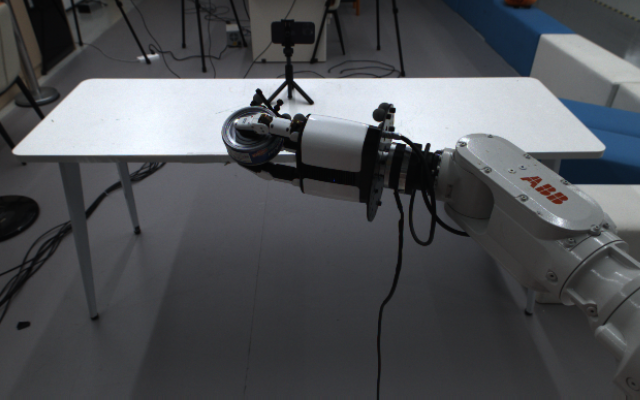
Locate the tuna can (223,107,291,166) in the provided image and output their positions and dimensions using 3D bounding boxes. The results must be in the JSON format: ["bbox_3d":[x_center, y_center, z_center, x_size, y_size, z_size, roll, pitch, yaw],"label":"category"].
[{"bbox_3d":[-0.093,-0.088,0.692,0.085,0.034,0.085,-4,57,6],"label":"tuna can"}]
